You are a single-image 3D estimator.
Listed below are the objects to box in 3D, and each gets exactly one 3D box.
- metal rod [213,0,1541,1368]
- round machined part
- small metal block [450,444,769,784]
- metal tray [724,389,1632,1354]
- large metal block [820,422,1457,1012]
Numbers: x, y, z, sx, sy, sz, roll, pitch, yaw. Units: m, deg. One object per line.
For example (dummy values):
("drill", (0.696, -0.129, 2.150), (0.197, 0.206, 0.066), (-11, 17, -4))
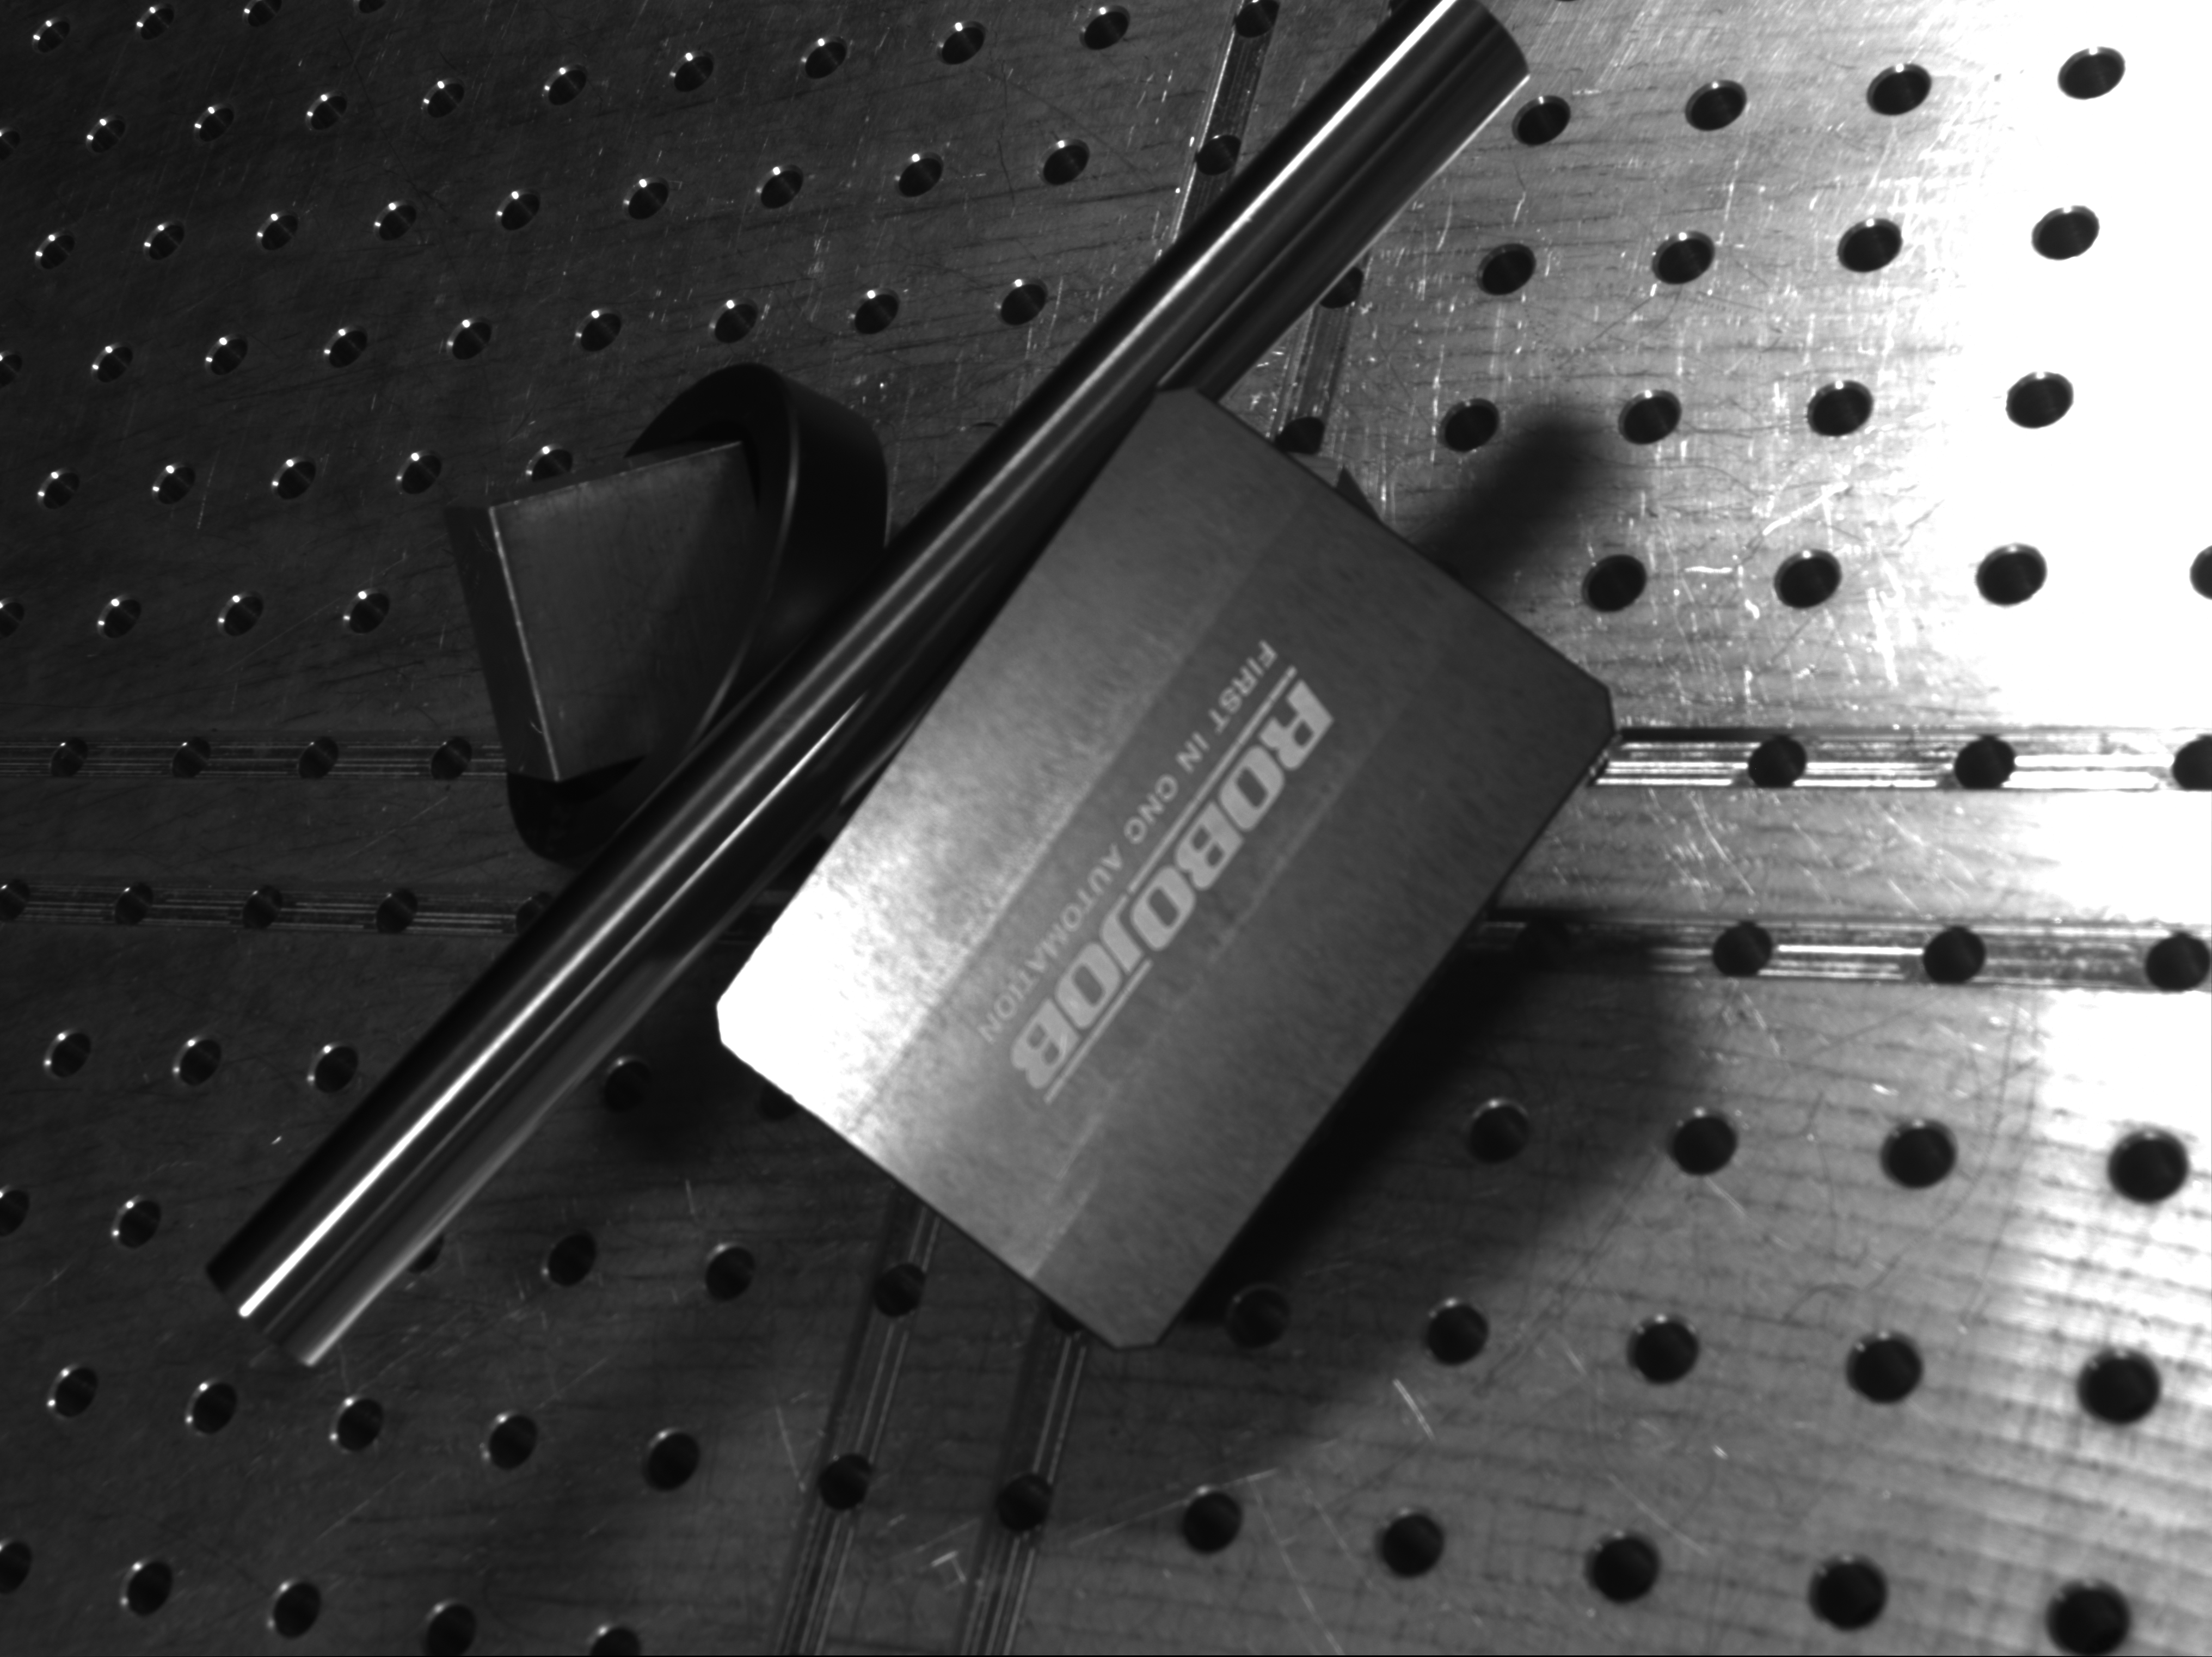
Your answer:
("metal rod", (-0.037, -0.028, 0.620), (0.300, 0.025, 0.025), (-47, 51, -5))
("round machined part", (-0.066, -0.032, 0.675), (0.098, 0.042, 0.098), (-35, 40, 38))
("small metal block", (-0.086, -0.040, 0.666), (0.050, 0.050, 0.025), (-18, 14, -26))
("metal tray", (0.012, 0.007, 0.590), (0.090, 0.030, 0.130), (37, 96, 7))
("large metal block", (0.005, -0.021, 0.641), (0.080, 0.050, 0.080), (9, 66, 32))
